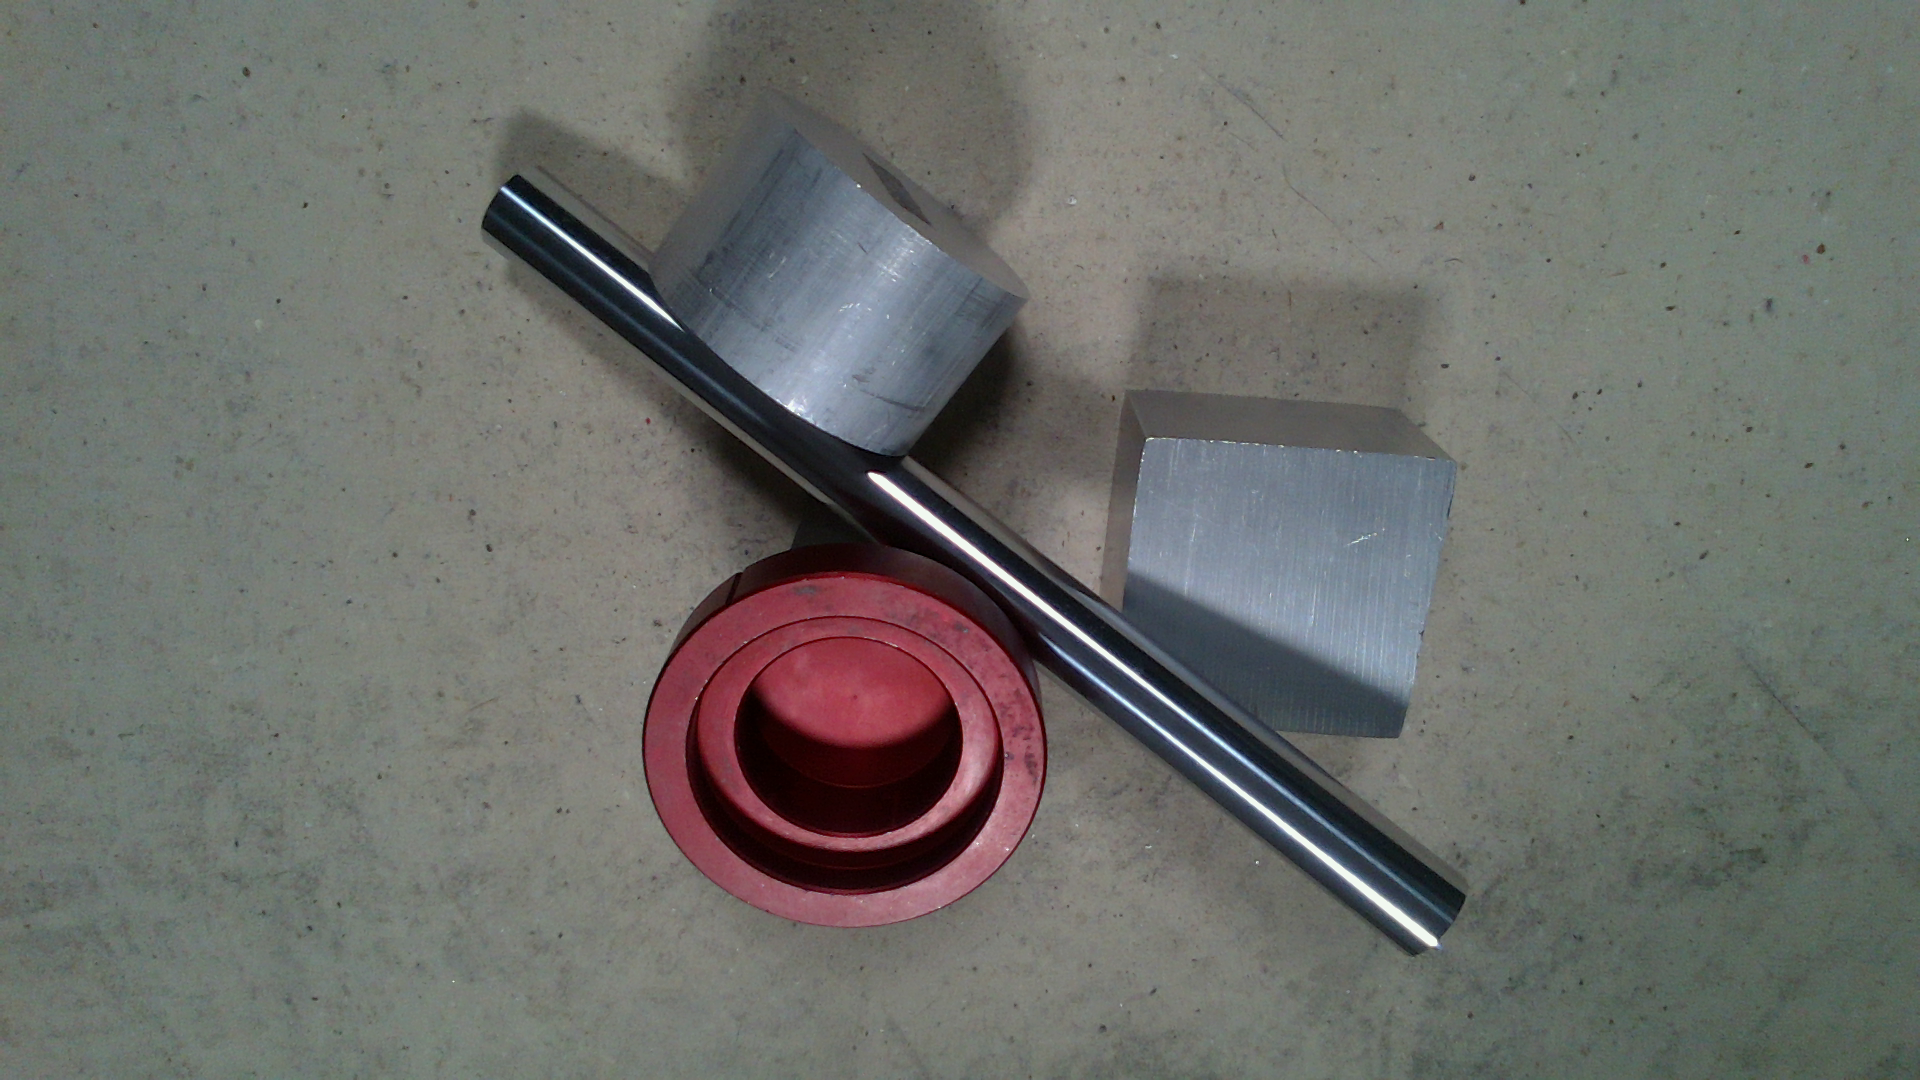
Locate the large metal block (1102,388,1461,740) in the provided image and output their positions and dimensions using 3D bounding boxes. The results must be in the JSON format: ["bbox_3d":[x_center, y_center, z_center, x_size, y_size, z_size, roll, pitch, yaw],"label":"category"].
[{"bbox_3d":[0.084,0.006,0.383,0.080,0.050,0.080,4,110,-2],"label":"large metal block"}]

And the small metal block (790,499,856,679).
[{"bbox_3d":[-0.031,0.019,0.388,0.025,0.050,0.050,-2,110,1],"label":"small metal block"}]

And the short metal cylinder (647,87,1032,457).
[{"bbox_3d":[-0.029,-0.066,0.340,0.080,0.080,0.050,36,106,-12],"label":"short metal cylinder"}]

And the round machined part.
[{"bbox_3d":[-0.028,0.046,0.349,0.098,0.042,0.098,0,112,0],"label":"round machined part"}]

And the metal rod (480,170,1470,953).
[{"bbox_3d":[0.002,0.004,0.356,0.300,0.025,0.025,37,107,2],"label":"metal rod"}]
